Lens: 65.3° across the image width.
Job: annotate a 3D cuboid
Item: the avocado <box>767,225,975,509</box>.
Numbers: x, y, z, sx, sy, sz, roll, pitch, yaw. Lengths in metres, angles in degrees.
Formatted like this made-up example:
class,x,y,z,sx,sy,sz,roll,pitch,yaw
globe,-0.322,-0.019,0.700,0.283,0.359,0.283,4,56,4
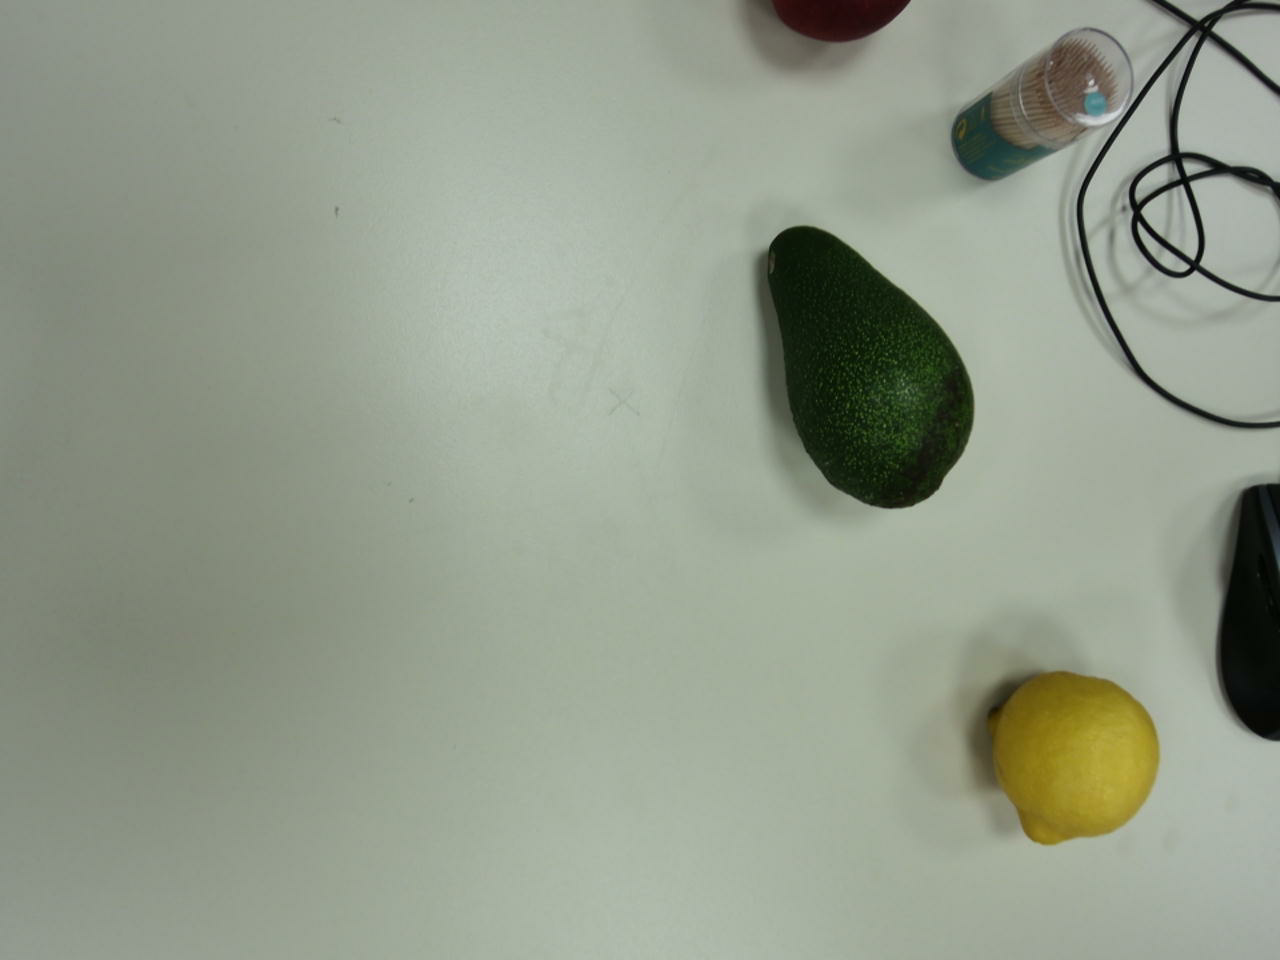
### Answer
class,x,y,z,sx,sy,sz,roll,pitch,yaw
avocado,0.099,-0.049,0.416,0.074,0.076,0.123,-5,91,-11
